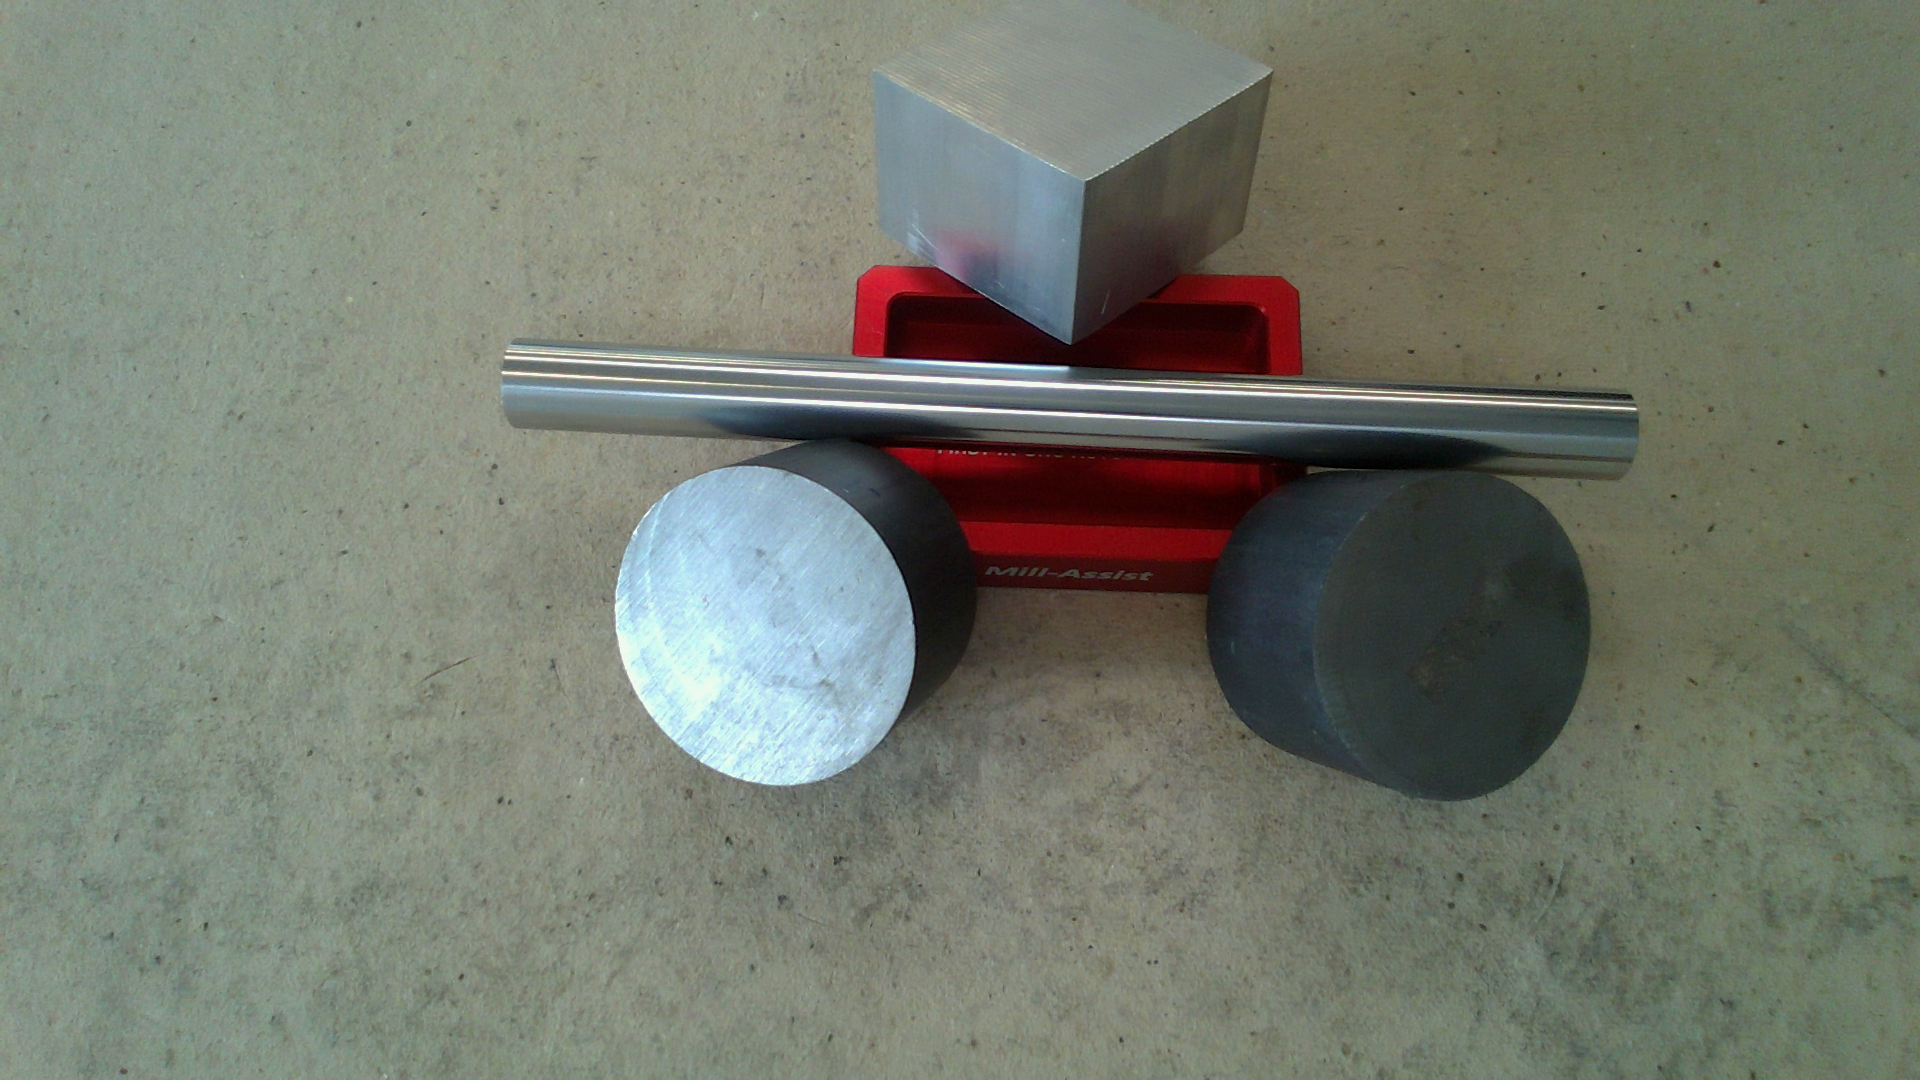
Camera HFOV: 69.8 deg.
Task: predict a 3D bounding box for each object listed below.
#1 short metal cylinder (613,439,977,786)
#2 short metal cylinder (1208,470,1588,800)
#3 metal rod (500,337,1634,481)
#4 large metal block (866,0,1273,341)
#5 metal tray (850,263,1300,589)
[{"bbox_3d":[-0.041,0.017,0.356,0.080,0.050,0.080,3,102,17],"label":"short metal cylinder"},{"bbox_3d":[0.112,0.022,0.356,0.080,0.050,0.080,-1,93,-19],"label":"short metal cylinder"},{"bbox_3d":[0.028,-0.036,0.376,0.300,0.025,0.025,3,70,1],"label":"metal rod"},{"bbox_3d":[0.030,-0.113,0.400,0.080,0.050,0.080,36,56,29],"label":"large metal block"},{"bbox_3d":[0.033,-0.033,0.405,0.130,0.030,0.090,2,70,0],"label":"metal tray"}]
